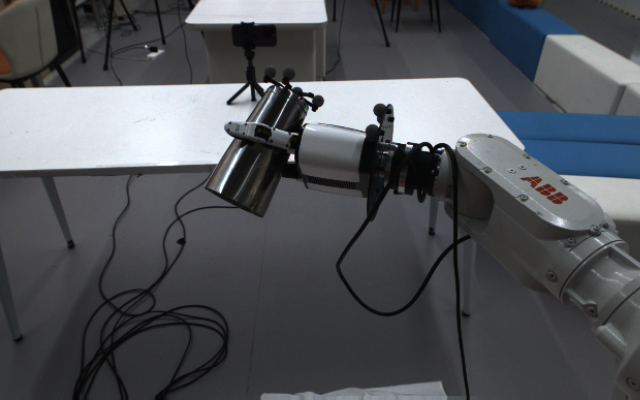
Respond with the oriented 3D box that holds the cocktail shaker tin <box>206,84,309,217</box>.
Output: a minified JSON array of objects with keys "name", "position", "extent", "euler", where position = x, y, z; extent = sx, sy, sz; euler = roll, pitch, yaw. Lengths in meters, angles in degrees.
[{"name":"cocktail shaker tin","position":[-0.081,-0.074,0.681],"extent":[0.093,0.093,0.170],"euler":[21,81,25]}]
